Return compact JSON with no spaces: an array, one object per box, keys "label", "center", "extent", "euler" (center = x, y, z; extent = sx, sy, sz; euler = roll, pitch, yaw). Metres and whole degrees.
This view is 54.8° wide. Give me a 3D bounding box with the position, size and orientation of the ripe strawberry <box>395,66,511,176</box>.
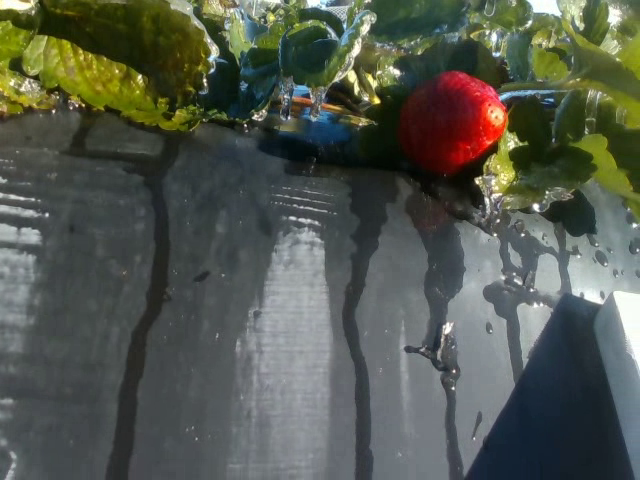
[{"label":"ripe strawberry","center":[0.051,-0.044,0.217],"extent":[0.041,0.047,0.053],"euler":[6,4,-3]}]
